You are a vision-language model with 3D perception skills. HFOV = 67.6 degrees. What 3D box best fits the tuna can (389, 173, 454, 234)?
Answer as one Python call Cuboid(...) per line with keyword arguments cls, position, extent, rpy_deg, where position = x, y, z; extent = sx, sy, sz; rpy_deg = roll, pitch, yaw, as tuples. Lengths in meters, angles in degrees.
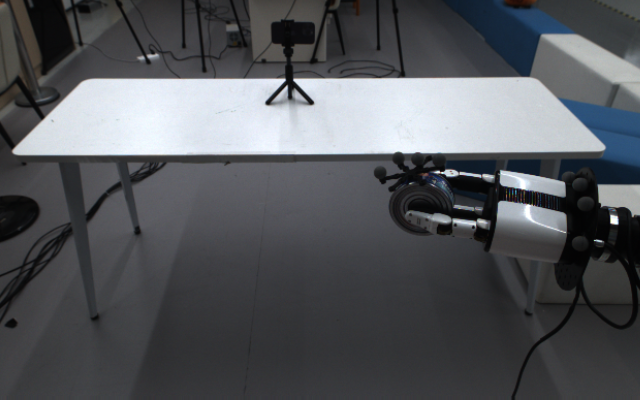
Cuboid(cls="tuna can", position=(0.139, 0.003, 0.653), extent=(0.085, 0.085, 0.034), rpy_deg=(11, 34, 13))
